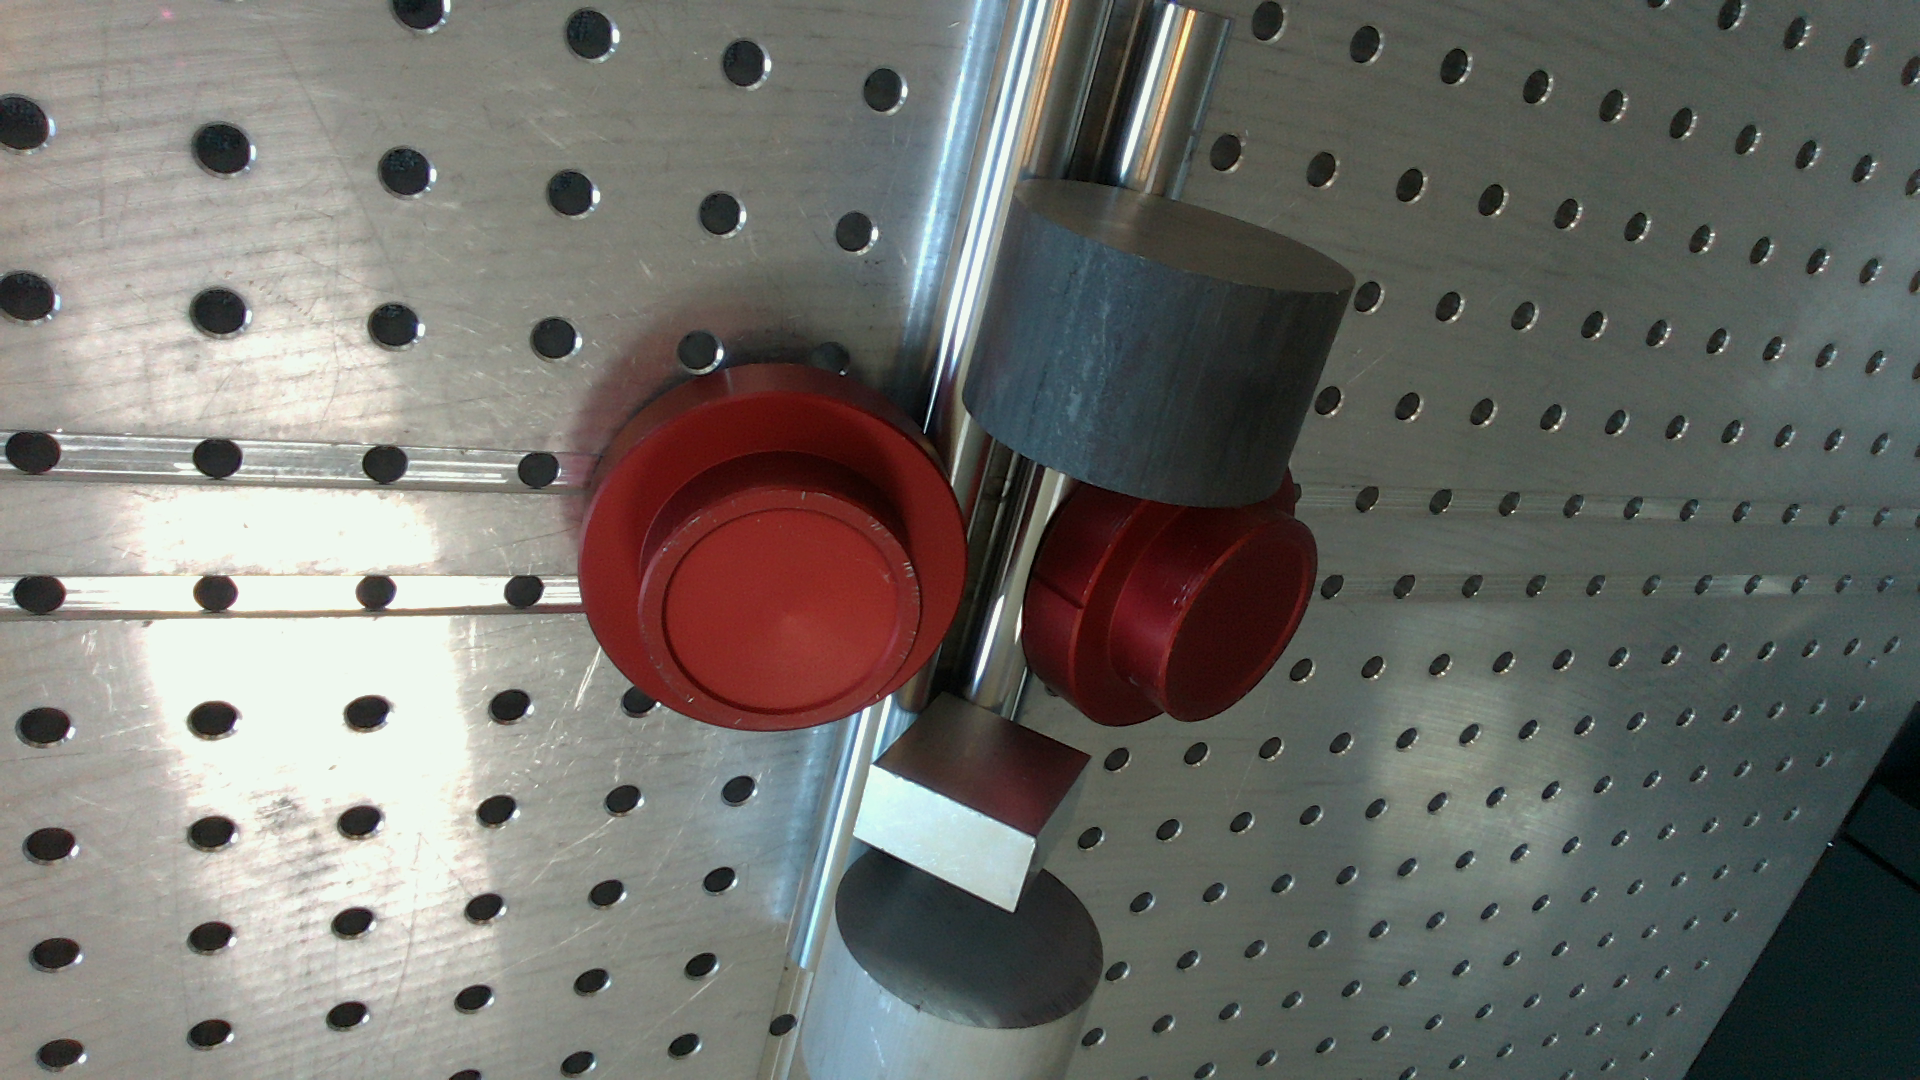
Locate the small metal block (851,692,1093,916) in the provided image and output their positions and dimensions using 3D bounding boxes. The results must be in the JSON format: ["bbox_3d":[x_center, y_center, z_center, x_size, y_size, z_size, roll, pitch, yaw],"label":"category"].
[{"bbox_3d":[0.004,0.074,0.394,0.050,0.050,0.025,-39,147,-61],"label":"small metal block"}]

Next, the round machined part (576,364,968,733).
[{"bbox_3d":[-0.046,0.009,0.346,0.098,0.042,0.098,-5,118,-10],"label":"round machined part"}]

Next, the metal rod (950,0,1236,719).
[{"bbox_3d":[0.022,0.000,0.403,0.025,0.025,0.300,1,118,-29],"label":"metal rod"}]

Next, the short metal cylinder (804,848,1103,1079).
[{"bbox_3d":[-0.003,0.133,0.409,0.080,0.080,0.050,1,118,-29],"label":"short metal cylinder"}]

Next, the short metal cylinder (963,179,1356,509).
[{"bbox_3d":[0.045,-0.048,0.323,0.080,0.080,0.050,1,118,-29],"label":"short metal cylinder"}]

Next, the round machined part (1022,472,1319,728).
[{"bbox_3d":[0.069,0.015,0.410,0.098,0.042,0.098,-26,134,-30],"label":"round machined part"}]

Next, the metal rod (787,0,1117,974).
[{"bbox_3d":[-0.010,0.002,0.387,0.025,0.025,0.300,1,118,-29],"label":"metal rod"}]
